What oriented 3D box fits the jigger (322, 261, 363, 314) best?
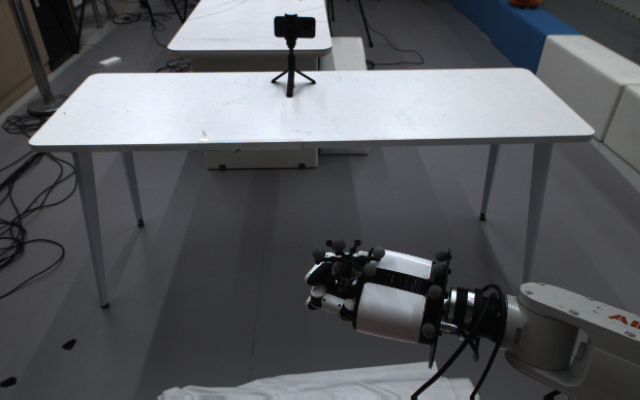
[{"bbox_3d":[0.038,0.120,0.674,0.043,0.071,0.043,4,31,-2],"label":"jigger"}]
